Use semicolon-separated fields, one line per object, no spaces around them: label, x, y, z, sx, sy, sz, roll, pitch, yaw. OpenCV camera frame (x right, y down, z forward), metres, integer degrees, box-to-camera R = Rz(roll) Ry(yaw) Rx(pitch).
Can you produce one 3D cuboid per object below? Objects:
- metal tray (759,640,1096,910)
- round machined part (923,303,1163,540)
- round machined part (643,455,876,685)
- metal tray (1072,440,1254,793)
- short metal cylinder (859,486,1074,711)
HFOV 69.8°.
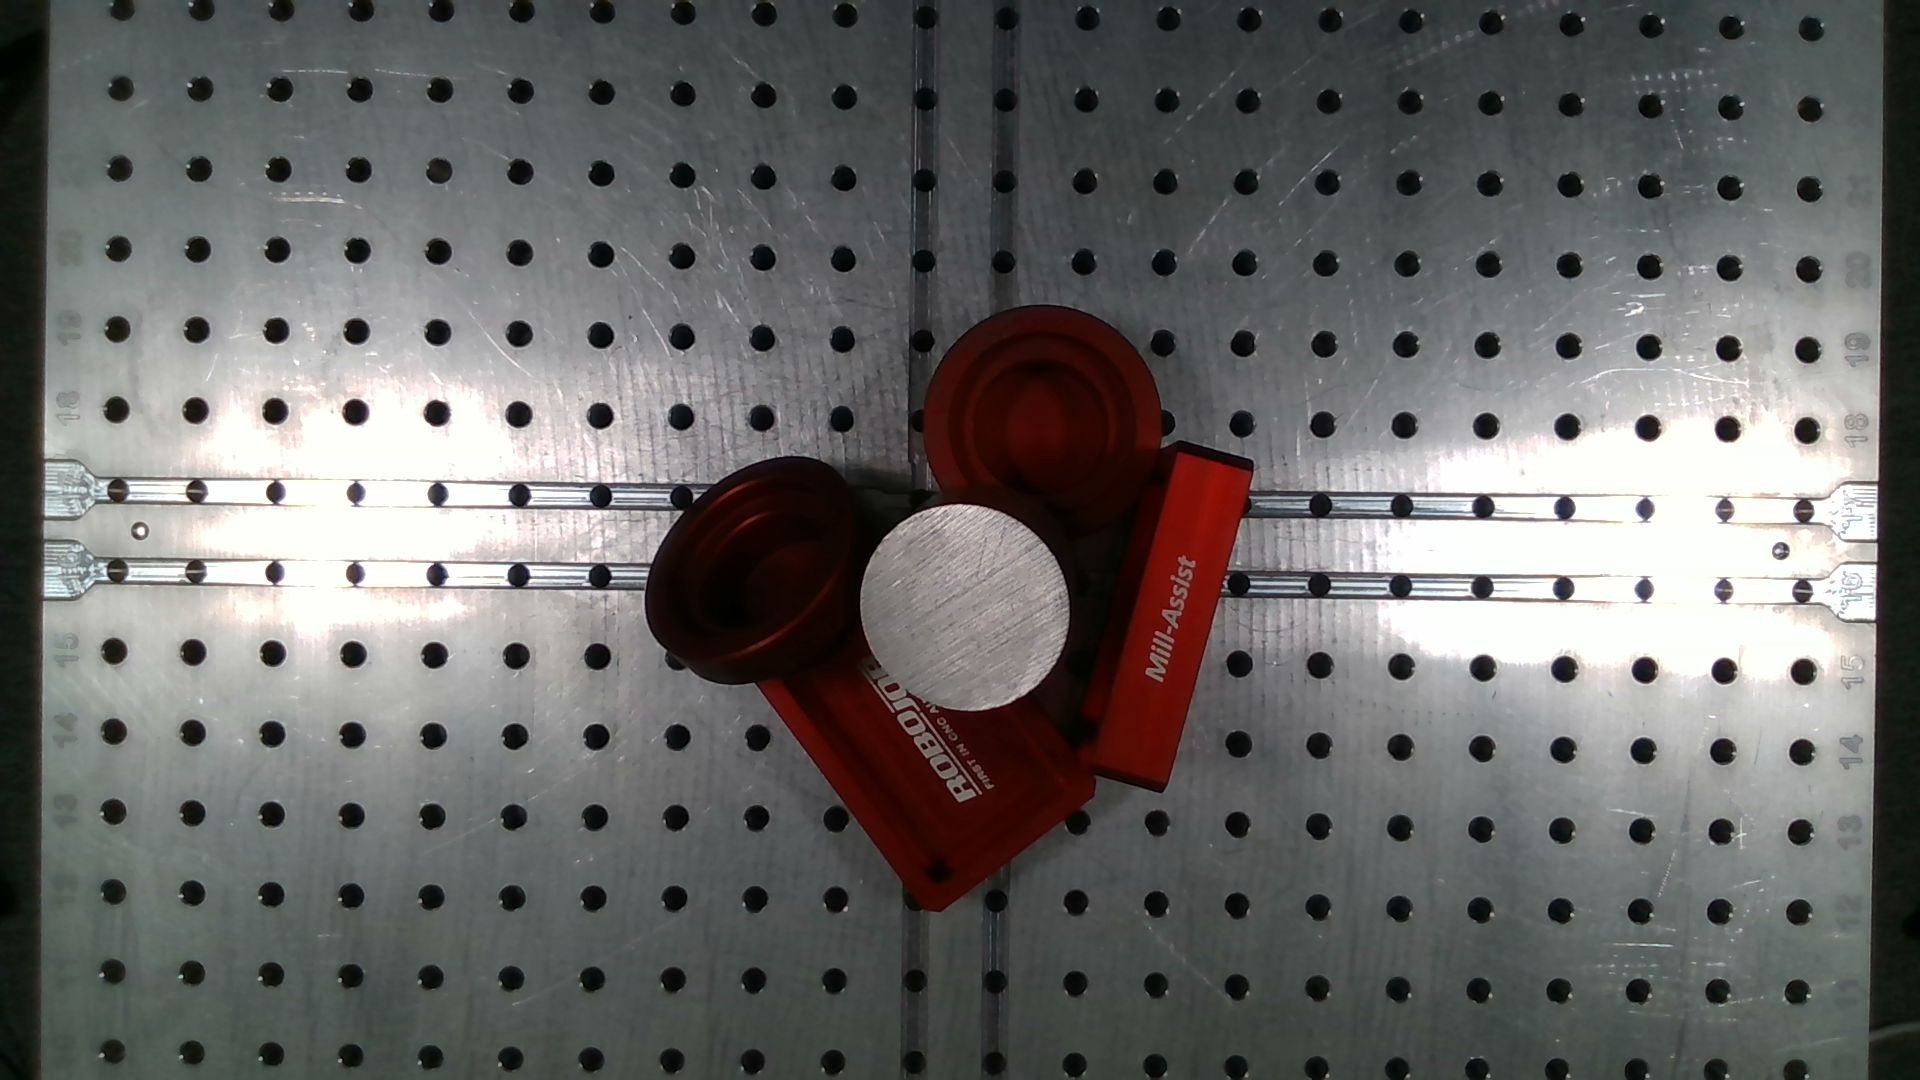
metal tray;-0.015;0.078;0.587;0.090;0.030;0.130;-37;90;0
round machined part;0.034;-0.048;0.581;0.098;0.042;0.098;0;90;0
round machined part;-0.077;0.017;0.563;0.098;0.042;0.098;-16;50;20
metal tray;0.079;0.029;0.557;0.030;0.090;0.130;15;90;0
short metal cylinder;0.005;0.021;0.540;0.080;0.050;0.080;2;102;8
